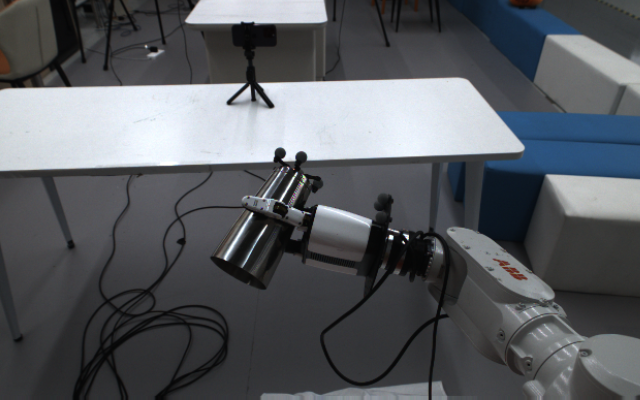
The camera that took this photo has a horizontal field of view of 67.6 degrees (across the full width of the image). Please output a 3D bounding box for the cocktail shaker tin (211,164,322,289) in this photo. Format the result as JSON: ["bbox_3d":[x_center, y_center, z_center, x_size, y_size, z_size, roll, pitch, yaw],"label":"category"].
[{"bbox_3d":[-0.077,0.033,0.716,0.093,0.093,0.170,18,66,22],"label":"cocktail shaker tin"}]
